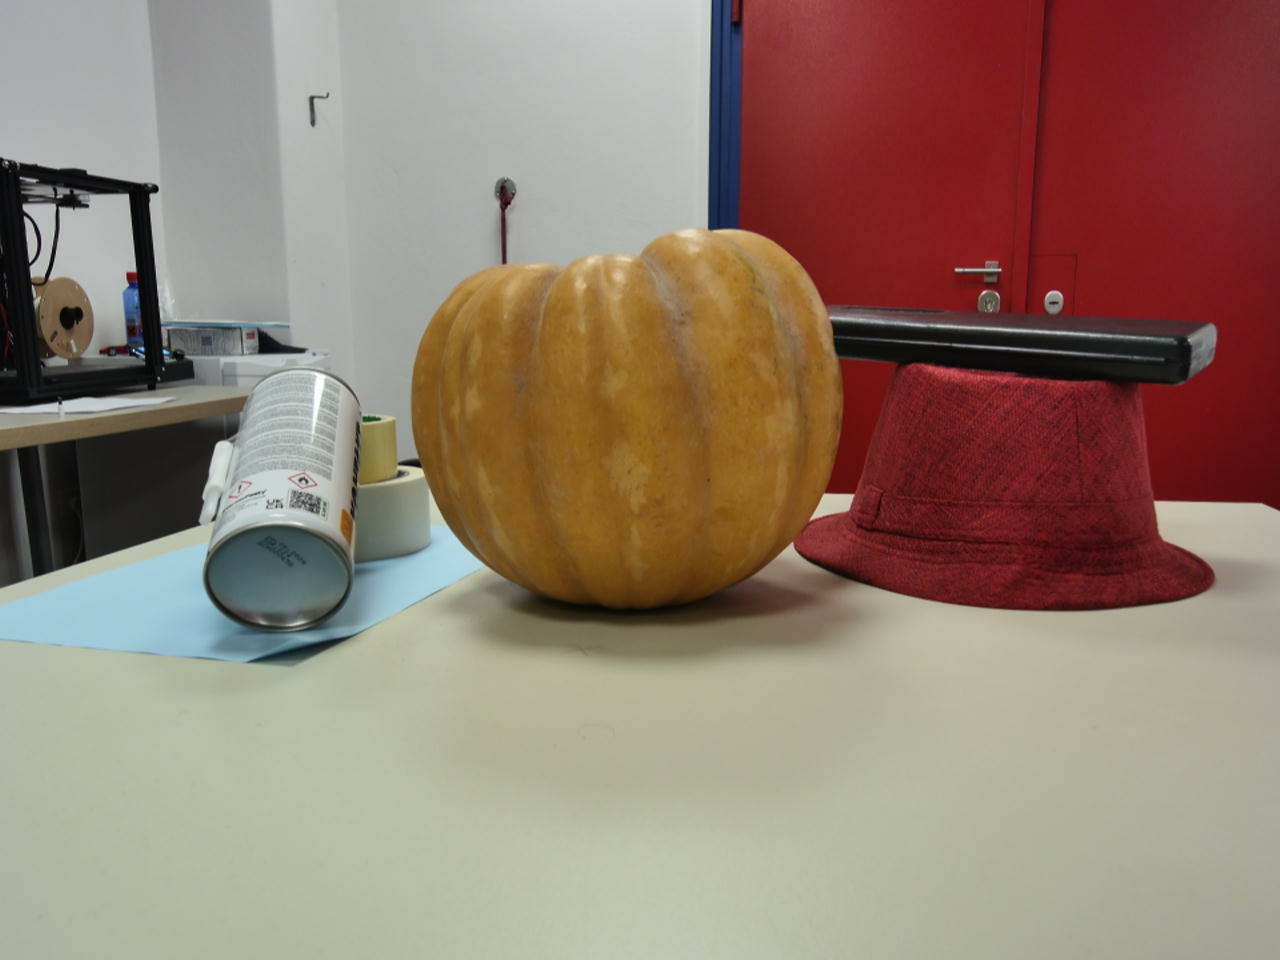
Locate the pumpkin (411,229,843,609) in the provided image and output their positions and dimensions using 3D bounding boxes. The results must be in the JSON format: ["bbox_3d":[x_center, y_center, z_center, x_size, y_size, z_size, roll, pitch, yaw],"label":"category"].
[{"bbox_3d":[-0.004,-0.032,0.538,0.230,0.194,0.230,-1,6,0],"label":"pumpkin"}]
